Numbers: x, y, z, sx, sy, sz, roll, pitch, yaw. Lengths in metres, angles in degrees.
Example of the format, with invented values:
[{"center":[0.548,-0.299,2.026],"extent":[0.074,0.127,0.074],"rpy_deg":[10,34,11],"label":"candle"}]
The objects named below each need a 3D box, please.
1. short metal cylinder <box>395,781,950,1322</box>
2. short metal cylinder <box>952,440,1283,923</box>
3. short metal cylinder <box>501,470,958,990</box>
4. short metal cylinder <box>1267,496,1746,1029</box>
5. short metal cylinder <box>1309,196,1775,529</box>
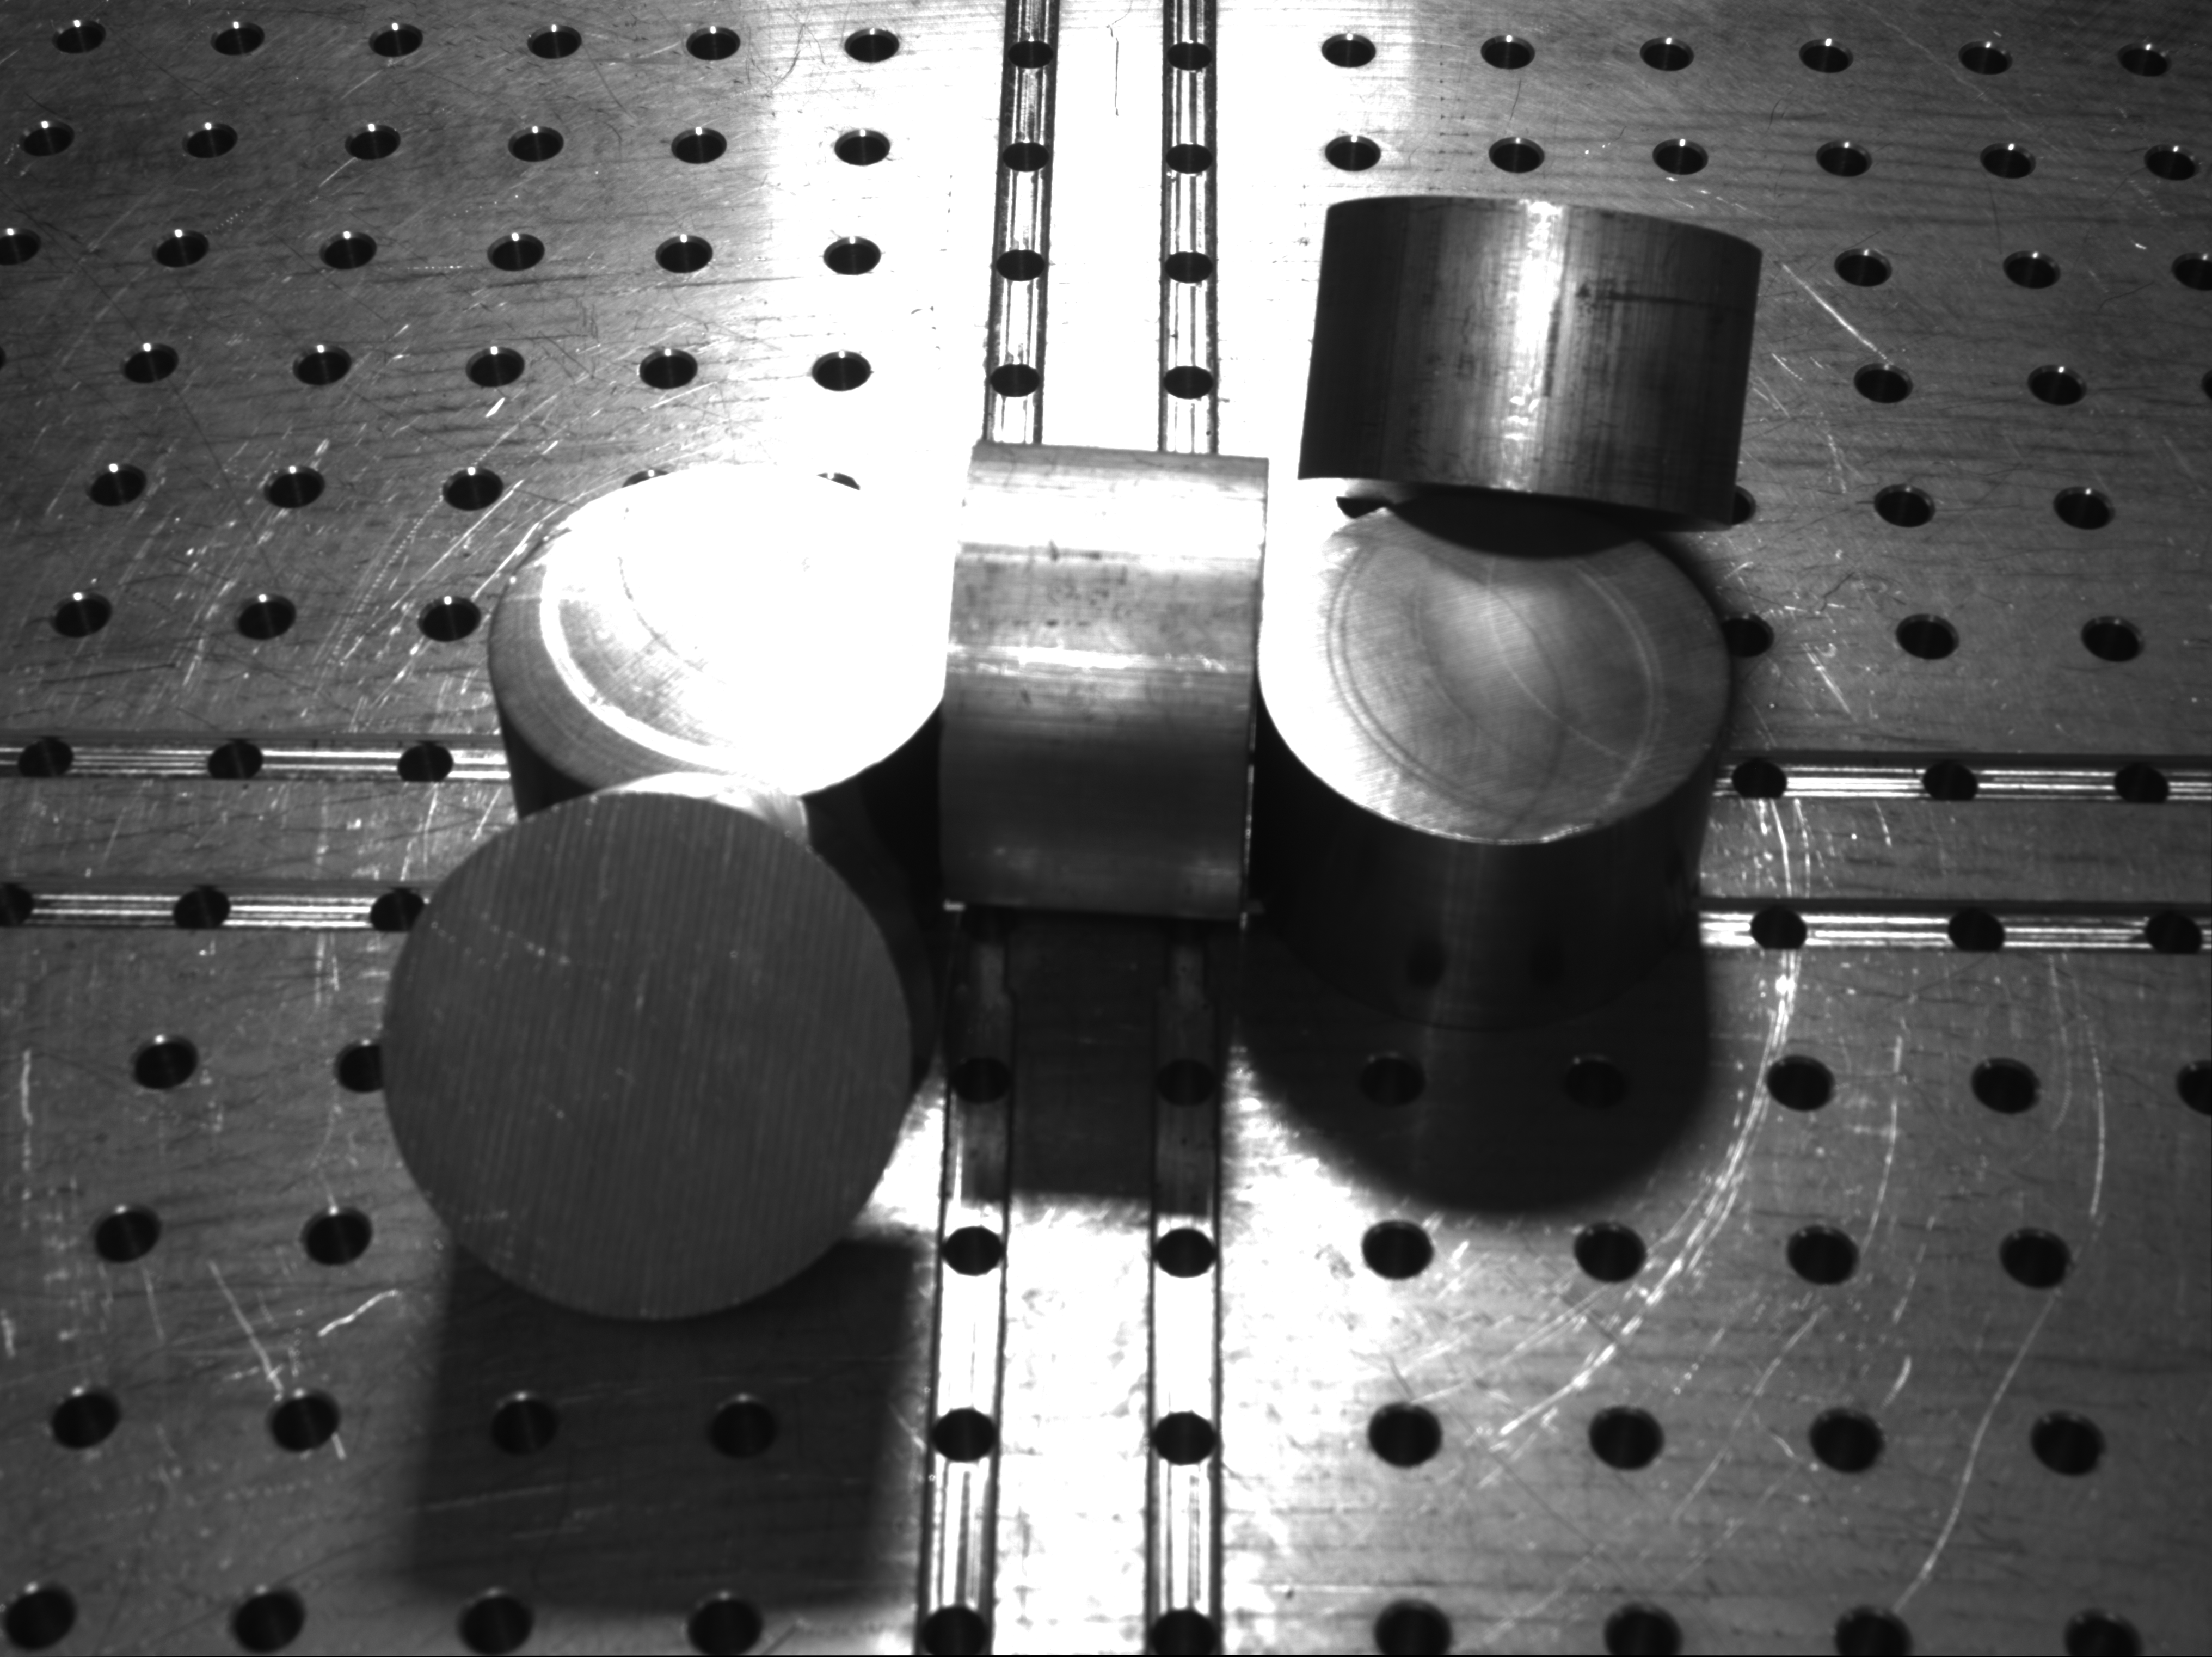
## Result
[{"center":[-0.066,0.033,0.574],"extent":[0.080,0.050,0.080],"rpy_deg":[0,94,1],"label":"short metal cylinder"},{"center":[0.003,-0.025,0.630],"extent":[0.050,0.080,0.080],"rpy_deg":[4,50,3],"label":"short metal cylinder"},{"center":[-0.063,-0.017,0.642],"extent":[0.080,0.050,0.080],"rpy_deg":[0,50,0],"label":"short metal cylinder"},{"center":[0.068,-0.012,0.638],"extent":[0.080,0.050,0.080],"rpy_deg":[0,50,0],"label":"short metal cylinder"},{"center":[0.080,-0.084,0.671],"extent":[0.080,0.080,0.050],"rpy_deg":[7,92,6],"label":"short metal cylinder"}]
